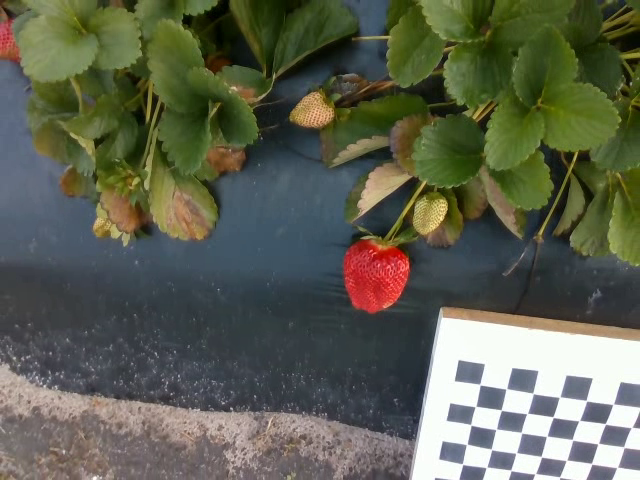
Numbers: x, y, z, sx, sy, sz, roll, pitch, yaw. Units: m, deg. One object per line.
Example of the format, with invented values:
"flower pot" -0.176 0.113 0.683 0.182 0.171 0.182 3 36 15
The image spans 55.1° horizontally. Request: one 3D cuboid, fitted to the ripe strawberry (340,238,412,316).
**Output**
"ripe strawberry" 0.048 0.034 0.549 0.067 0.075 0.039 12 23 6
